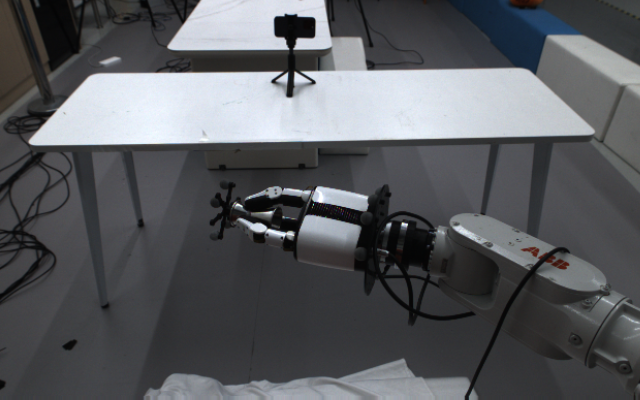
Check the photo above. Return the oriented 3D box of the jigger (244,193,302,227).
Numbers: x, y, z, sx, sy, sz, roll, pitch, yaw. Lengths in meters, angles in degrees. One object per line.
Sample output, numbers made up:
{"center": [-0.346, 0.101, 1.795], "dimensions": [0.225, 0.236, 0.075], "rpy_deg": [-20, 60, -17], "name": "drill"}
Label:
{"center": [-0.090, 0.023, 0.728], "dimensions": [0.071, 0.043, 0.043], "rpy_deg": [11, 36, 15], "name": "jigger"}
